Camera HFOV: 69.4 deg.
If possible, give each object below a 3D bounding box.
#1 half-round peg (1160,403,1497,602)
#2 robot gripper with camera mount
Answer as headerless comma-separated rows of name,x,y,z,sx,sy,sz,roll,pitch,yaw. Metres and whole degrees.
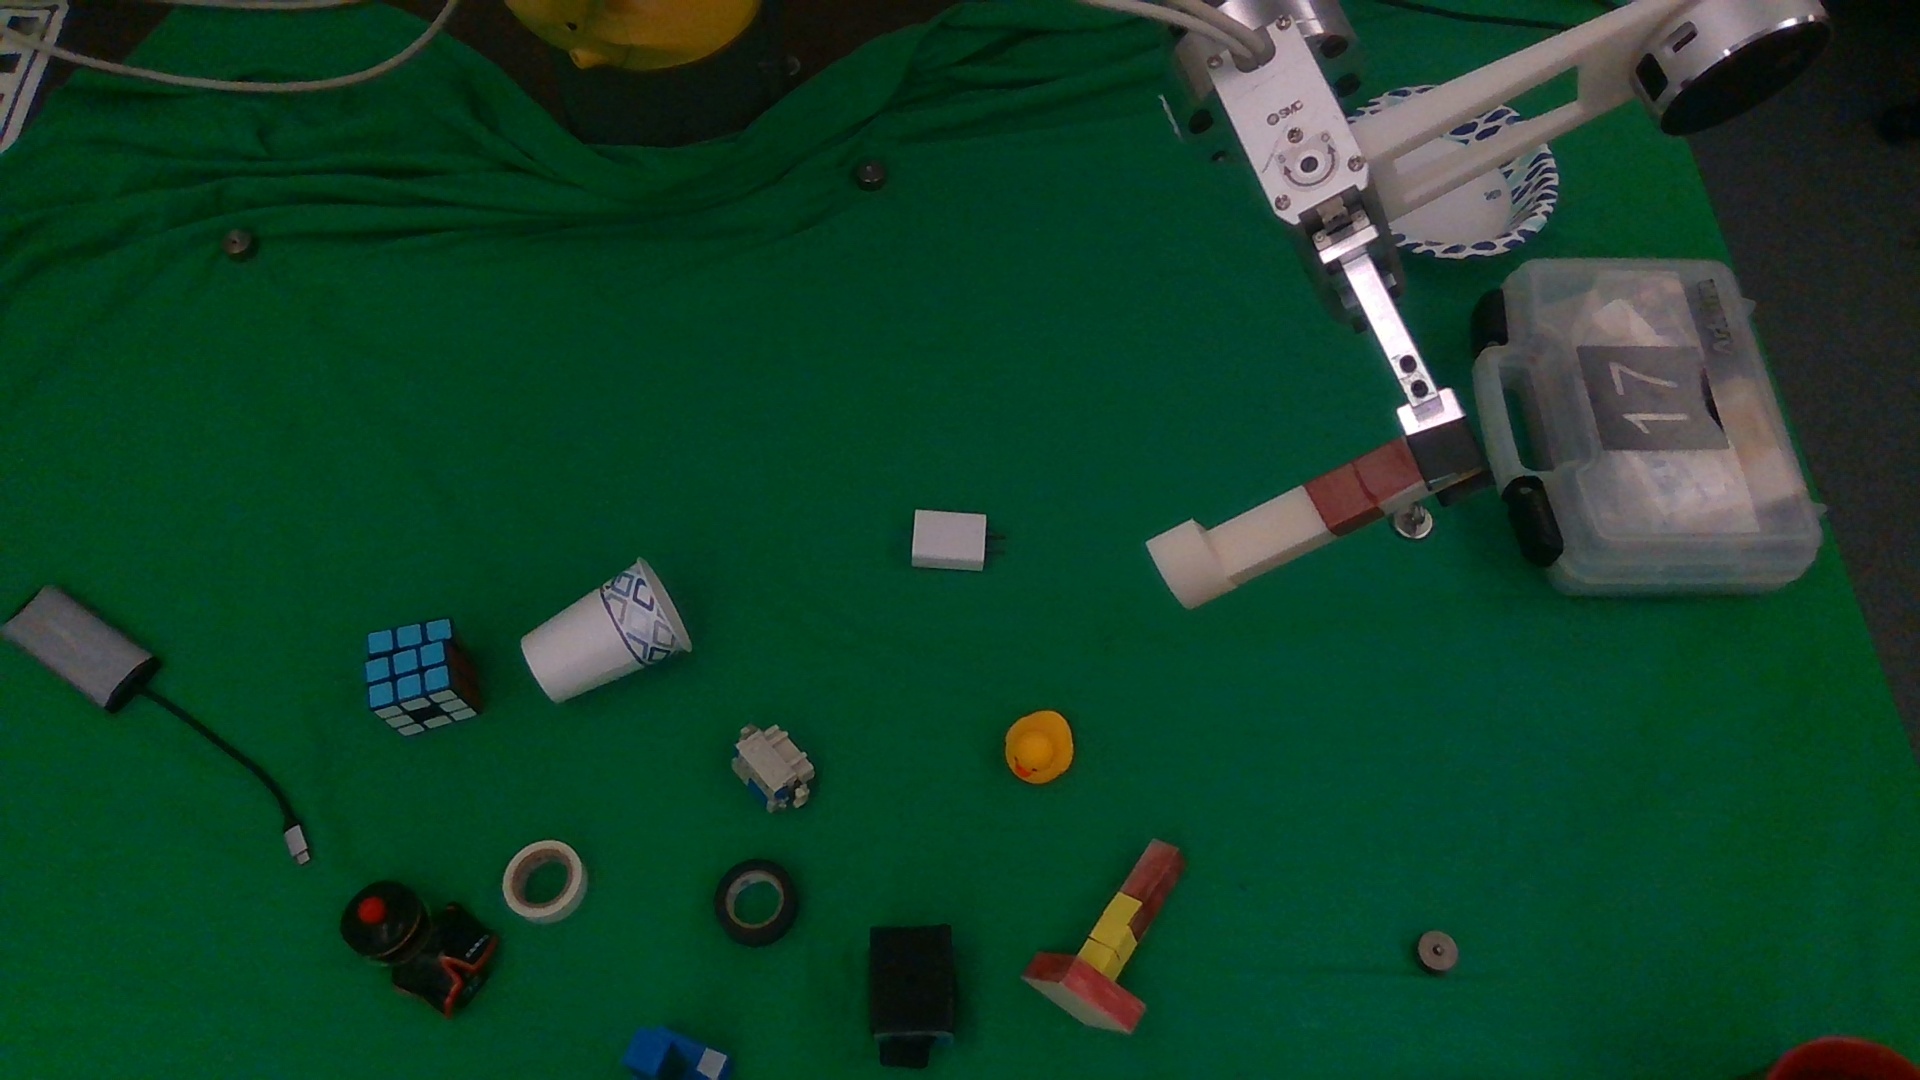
half-round peg,0.136,-0.016,0.513,0.122,0.054,0.031,-28,73,16
robot gripper with camera mount,0.224,-0.126,0.497,0.194,0.118,0.159,-27,70,18
